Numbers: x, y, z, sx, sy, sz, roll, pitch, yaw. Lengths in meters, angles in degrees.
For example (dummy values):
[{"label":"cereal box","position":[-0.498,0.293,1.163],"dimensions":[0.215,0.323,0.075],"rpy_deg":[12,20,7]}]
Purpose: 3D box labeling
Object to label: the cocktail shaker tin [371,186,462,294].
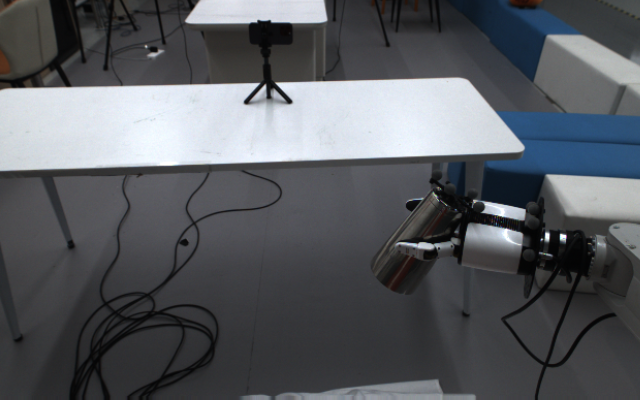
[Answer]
[{"label":"cocktail shaker tin","position":[0.166,0.060,0.799],"dimensions":[0.093,0.170,0.093],"rpy_deg":[25,29,-15]}]
